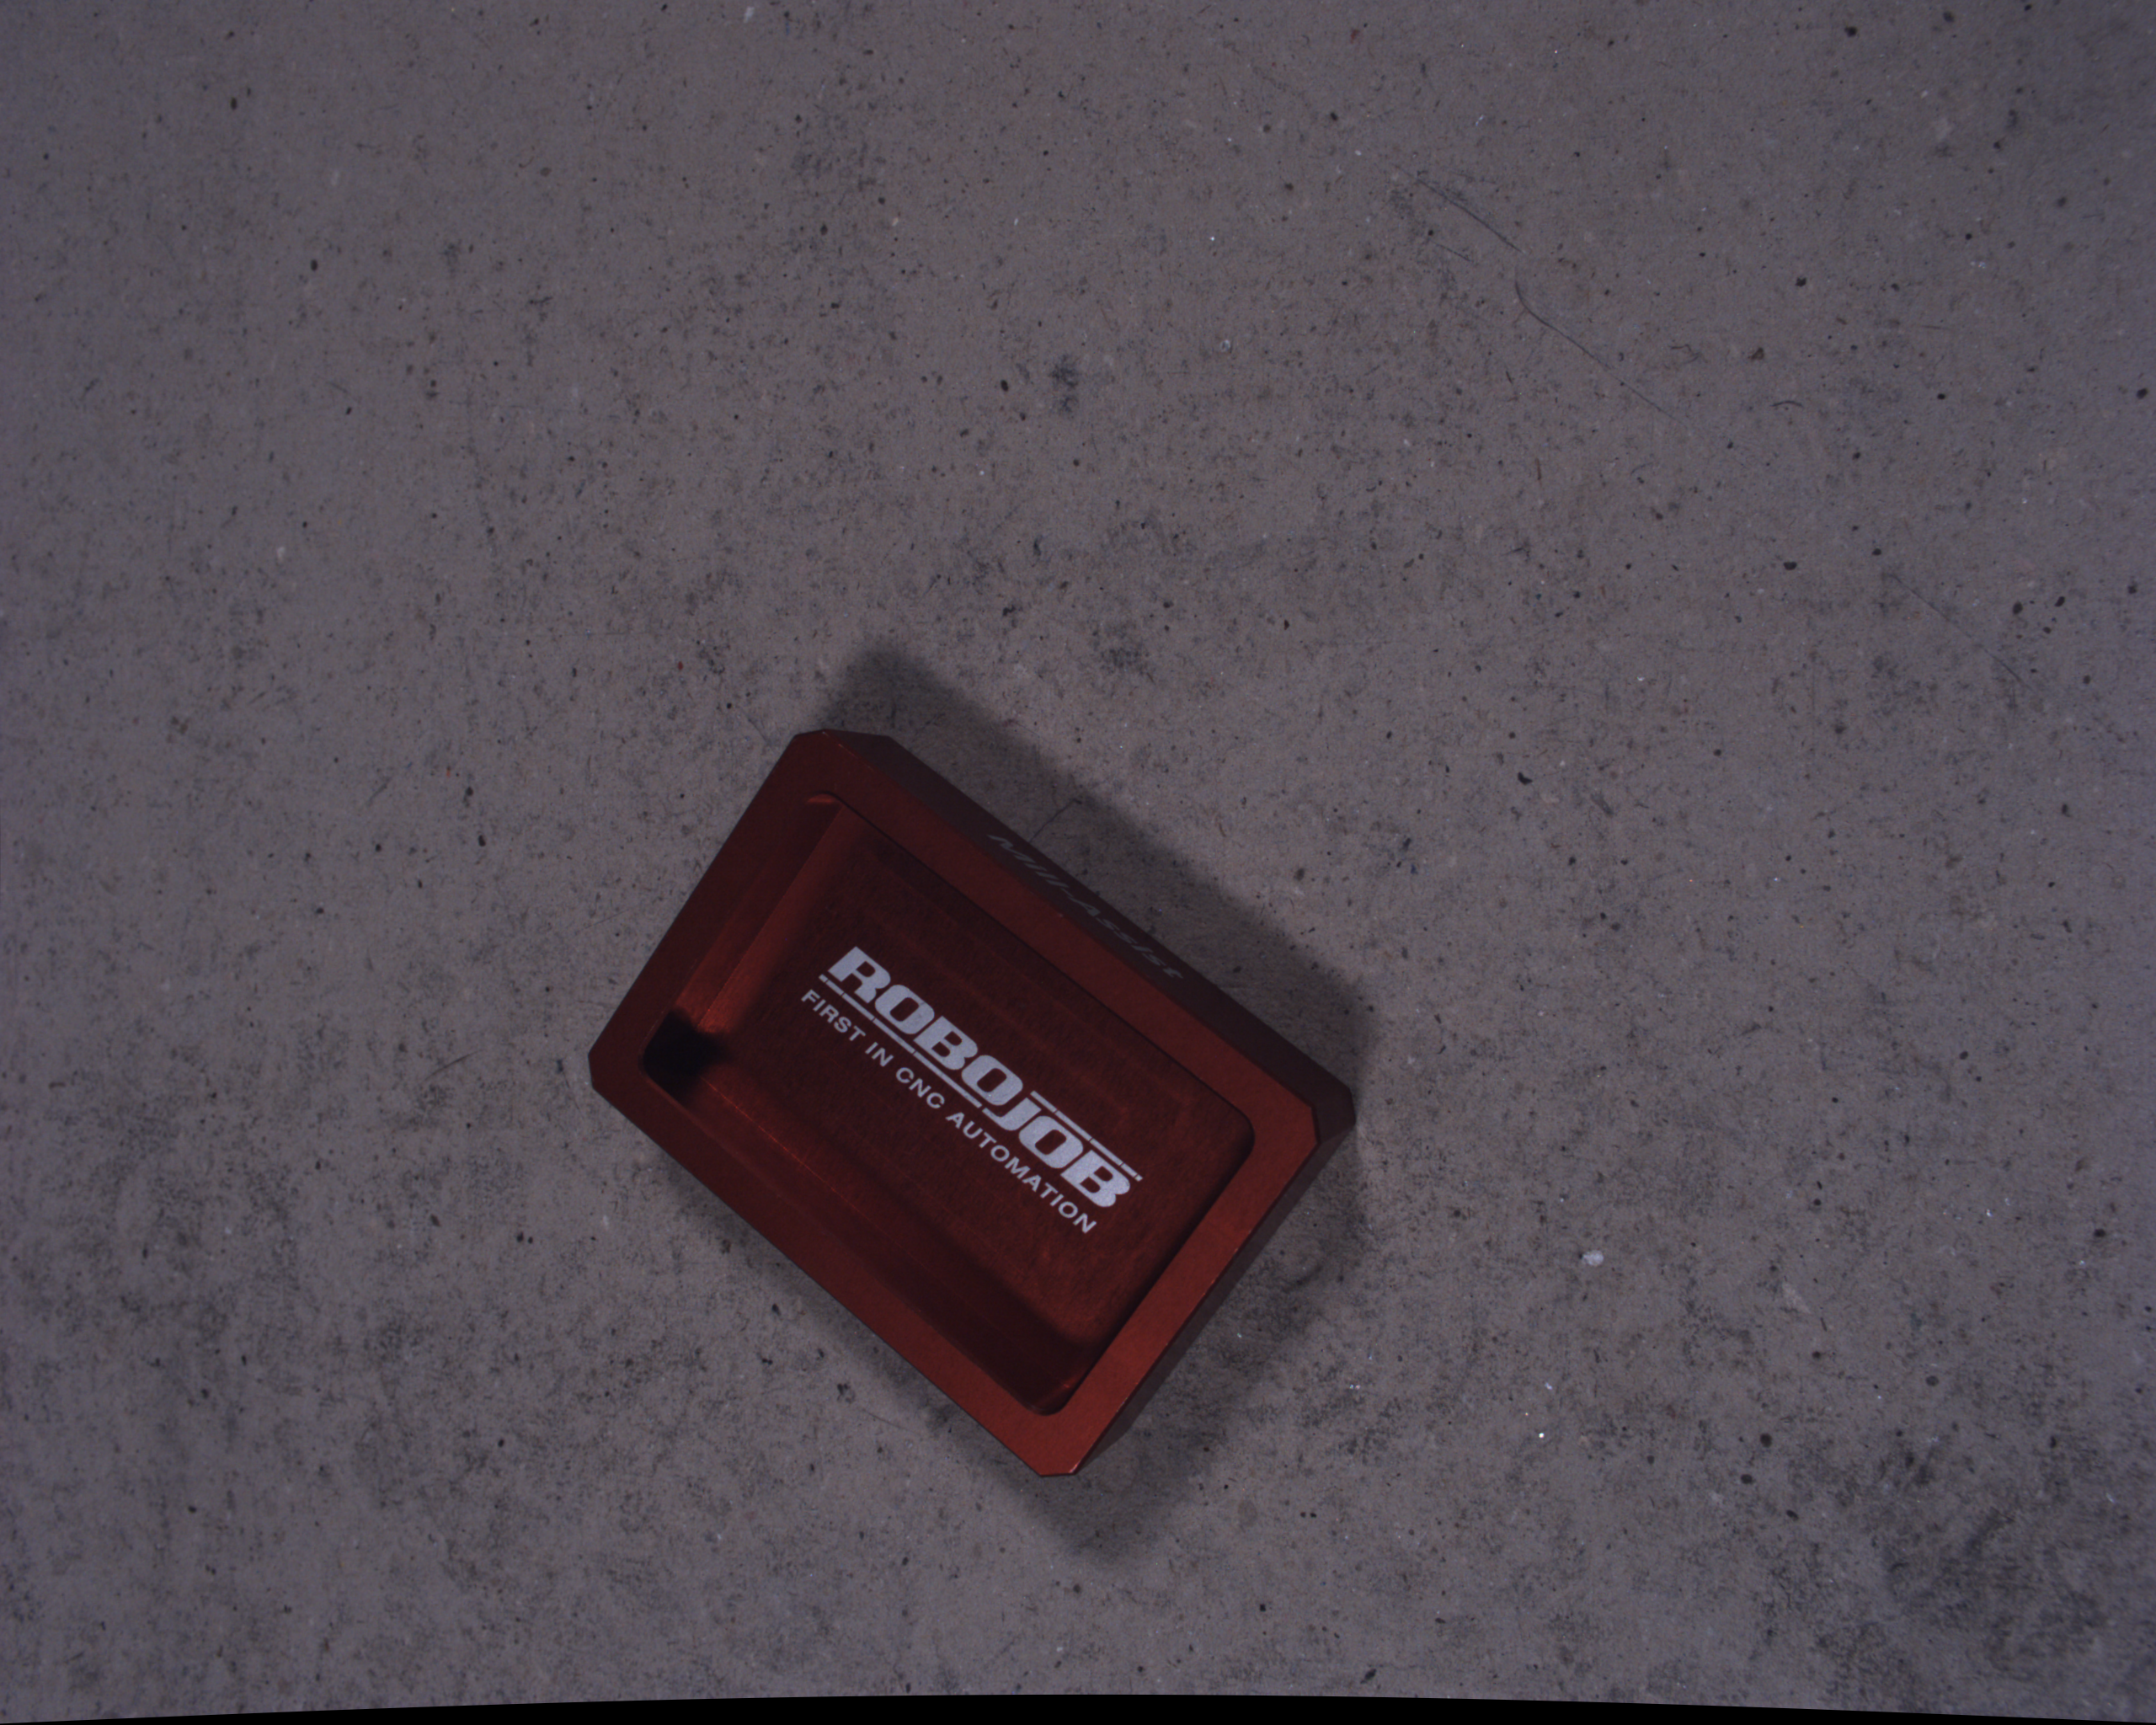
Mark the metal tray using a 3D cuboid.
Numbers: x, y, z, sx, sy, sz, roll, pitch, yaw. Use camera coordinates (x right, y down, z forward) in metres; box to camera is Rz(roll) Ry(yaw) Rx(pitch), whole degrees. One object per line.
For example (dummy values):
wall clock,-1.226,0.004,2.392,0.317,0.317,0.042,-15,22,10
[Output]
metal tray,-0.023,0.045,0.415,0.130,0.030,0.090,38,102,15
